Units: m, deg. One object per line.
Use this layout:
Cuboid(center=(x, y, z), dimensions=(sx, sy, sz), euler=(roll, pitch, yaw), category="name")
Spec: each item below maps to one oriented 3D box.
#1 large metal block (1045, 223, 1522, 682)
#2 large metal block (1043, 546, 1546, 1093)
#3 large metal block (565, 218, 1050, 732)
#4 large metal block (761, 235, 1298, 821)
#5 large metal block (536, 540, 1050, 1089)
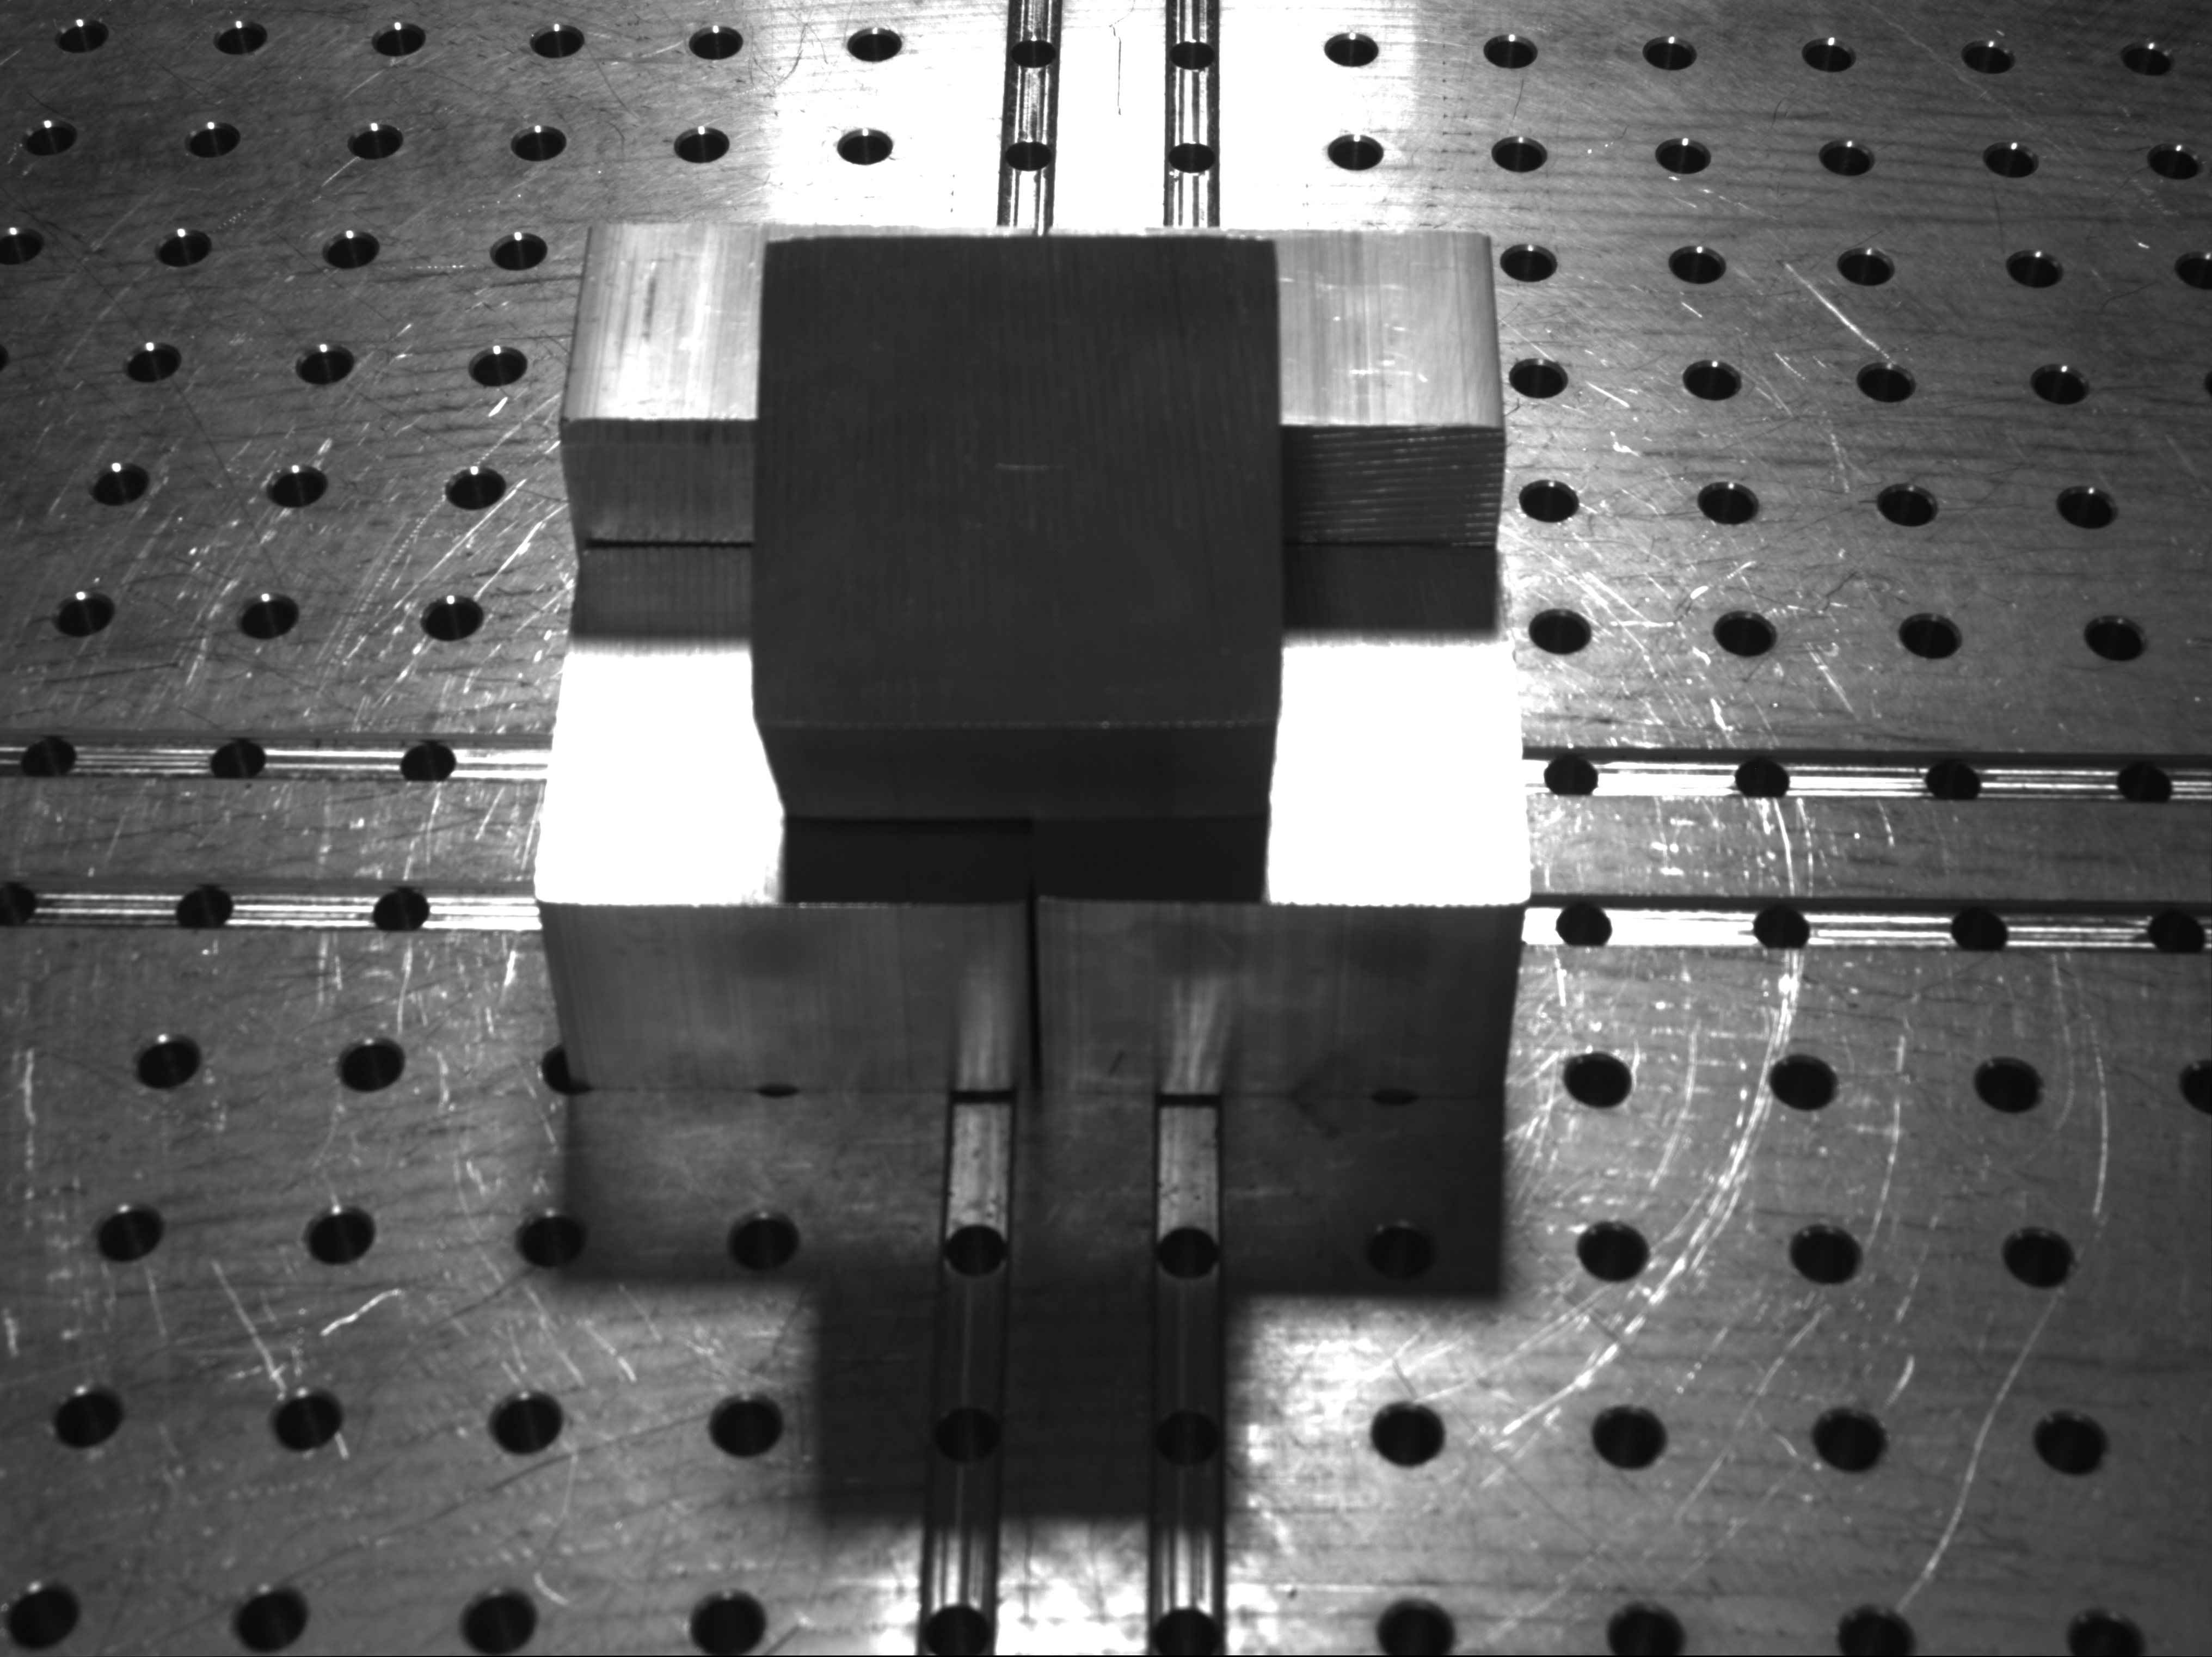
Cuboid(center=(0.030, -0.061, 0.660), dimensions=(0.080, 0.080, 0.050), euler=(1, 50, 1), category="large metal block")
Cuboid(center=(0.031, -0.002, 0.627), dimensions=(0.080, 0.050, 0.080), euler=(1, 50, 1), category="large metal block")
Cuboid(center=(-0.050, -0.062, 0.661), dimensions=(0.080, 0.080, 0.050), euler=(1, 50, 1), category="large metal block")
Cuboid(center=(-0.011, -0.047, 0.581), dimensions=(0.080, 0.050, 0.080), euler=(0, 74, 0), category="large metal block")
Cuboid(center=(-0.050, -0.003, 0.629), dimensions=(0.080, 0.050, 0.080), euler=(1, 50, 1), category="large metal block")
